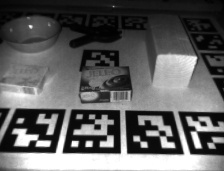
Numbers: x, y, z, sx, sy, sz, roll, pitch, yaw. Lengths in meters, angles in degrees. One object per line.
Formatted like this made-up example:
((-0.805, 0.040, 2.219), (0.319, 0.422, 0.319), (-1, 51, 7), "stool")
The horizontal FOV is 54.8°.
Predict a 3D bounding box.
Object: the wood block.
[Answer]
((0.140, -0.103, 0.557), (0.090, 0.091, 0.205), (4, 46, 1), "wood block")

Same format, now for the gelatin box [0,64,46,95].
((-0.208, -0.018, 0.496), (0.089, 0.030, 0.073), (8, 47, 4), "gelatin box")

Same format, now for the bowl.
((-0.229, -0.143, 0.611), (0.162, 0.055, 0.161), (3, 48, -2), "bowl")

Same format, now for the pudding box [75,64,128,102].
((-0.022, -0.006, 0.491), (0.114, 0.039, 0.089), (0, 49, 0), "pudding box")

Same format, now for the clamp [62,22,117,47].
((-0.067, -0.161, 0.653), (0.166, 0.037, 0.121), (-5, 46, -10), "clamp")
